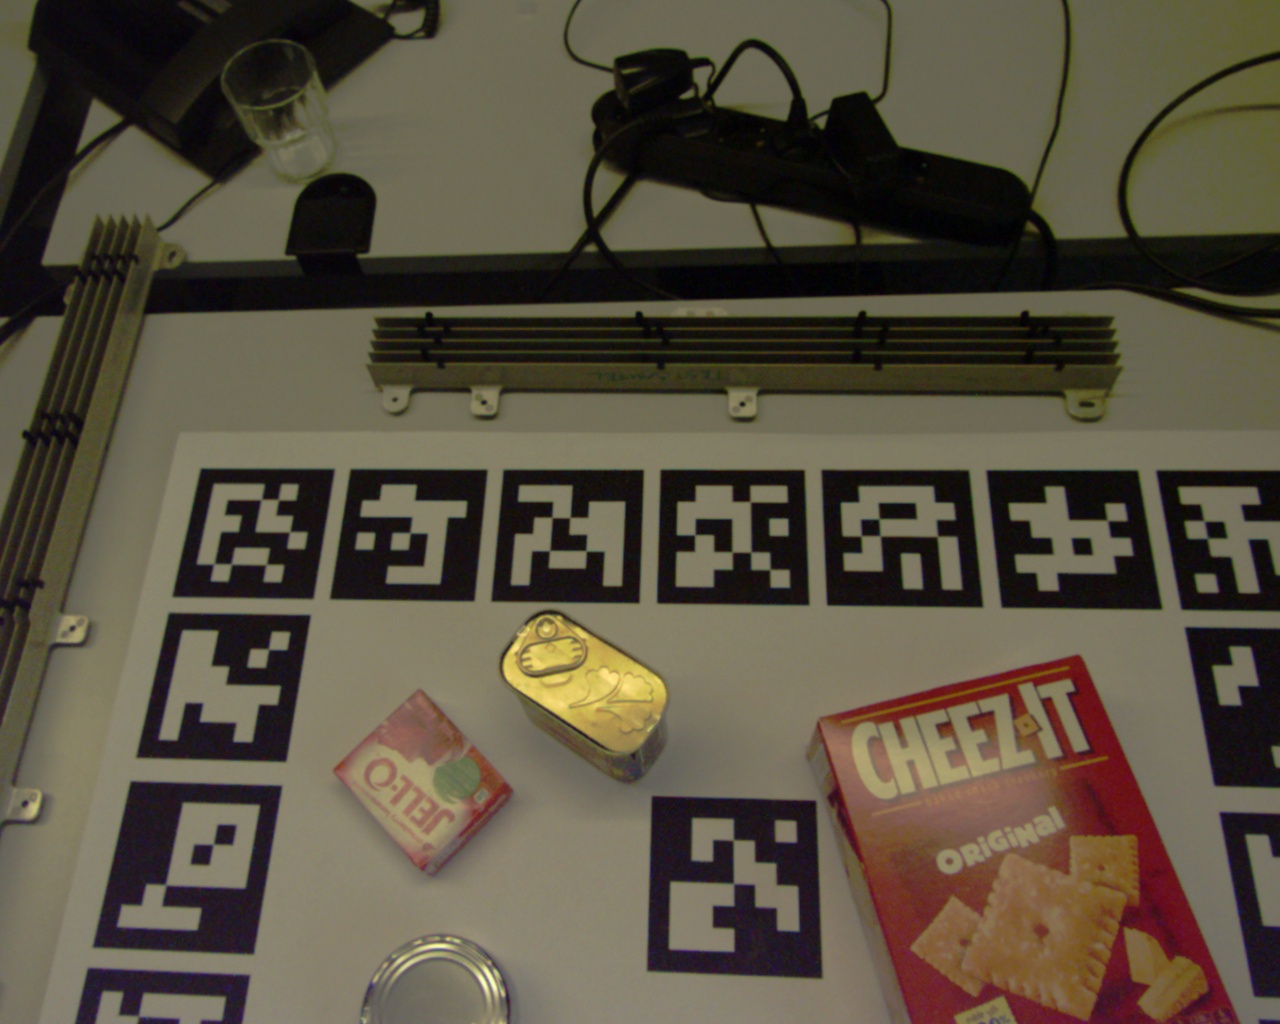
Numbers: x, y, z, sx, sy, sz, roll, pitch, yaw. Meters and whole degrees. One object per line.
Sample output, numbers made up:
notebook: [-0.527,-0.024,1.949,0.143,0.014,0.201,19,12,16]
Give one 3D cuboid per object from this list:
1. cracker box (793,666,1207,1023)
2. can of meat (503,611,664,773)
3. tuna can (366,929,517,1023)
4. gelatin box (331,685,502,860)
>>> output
cracker box: [0.205,0.217,0.685,0.164,0.071,0.215,-14,60,-5]
can of meat: [-0.034,0.121,0.751,0.103,0.083,0.057,27,67,18]
tuna can: [-0.117,0.296,0.681,0.086,0.033,0.086,-2,65,4]
gelatin box: [-0.146,0.171,0.754,0.090,0.030,0.073,40,69,19]
